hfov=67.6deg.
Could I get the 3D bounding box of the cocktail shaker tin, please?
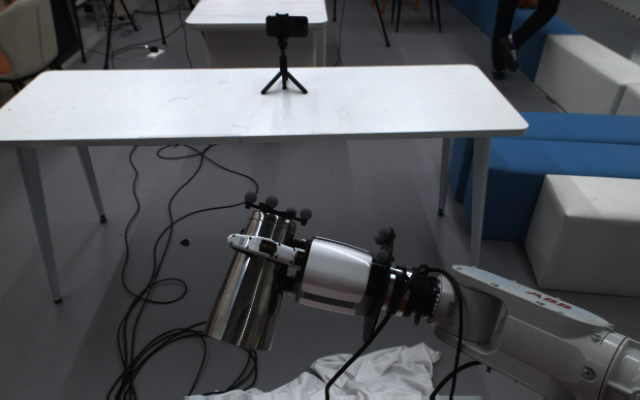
[{"bbox_3d":[-0.083,0.104,0.656,0.093,0.093,0.170,13,79,15],"label":"cocktail shaker tin"}]
